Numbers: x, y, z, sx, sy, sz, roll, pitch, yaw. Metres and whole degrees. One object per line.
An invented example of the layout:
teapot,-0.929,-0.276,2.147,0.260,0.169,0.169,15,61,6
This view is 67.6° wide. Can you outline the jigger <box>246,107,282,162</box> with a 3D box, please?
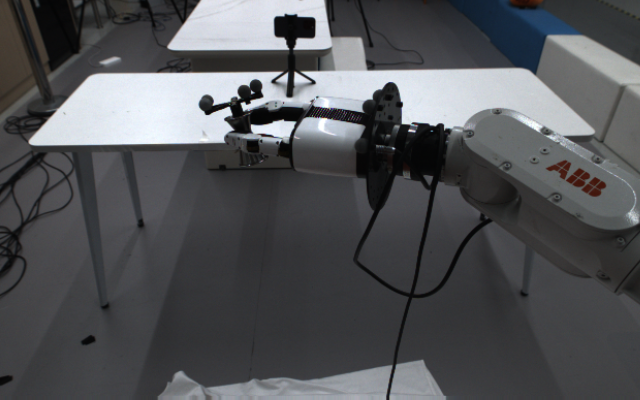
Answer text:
jigger,-0.100,-0.084,0.666,0.043,0.071,0.043,-14,22,6
